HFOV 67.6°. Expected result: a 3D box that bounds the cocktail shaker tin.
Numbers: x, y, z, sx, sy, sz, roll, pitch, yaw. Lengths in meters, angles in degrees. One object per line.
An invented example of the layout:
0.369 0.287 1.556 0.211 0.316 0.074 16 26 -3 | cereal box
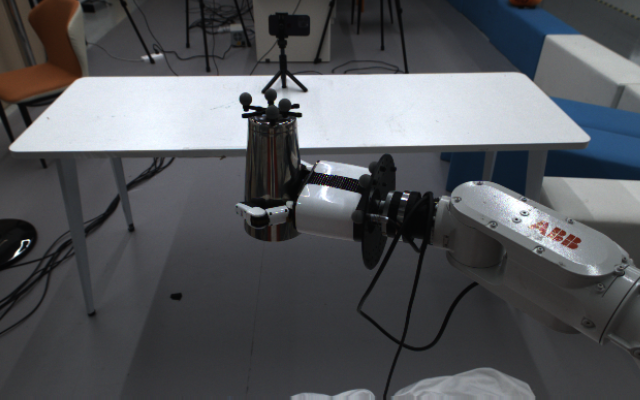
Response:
-0.065 -0.038 0.690 0.093 0.170 0.093 1 28 0 | cocktail shaker tin
